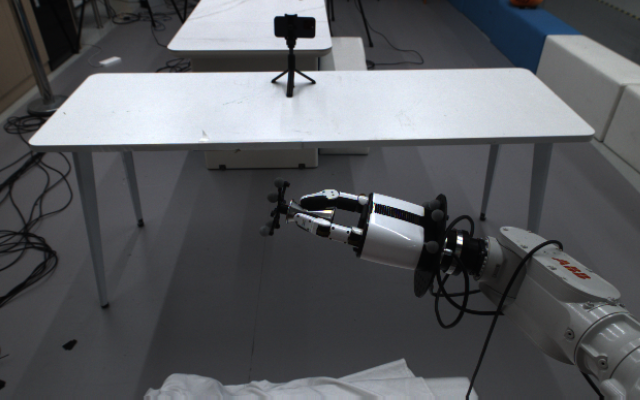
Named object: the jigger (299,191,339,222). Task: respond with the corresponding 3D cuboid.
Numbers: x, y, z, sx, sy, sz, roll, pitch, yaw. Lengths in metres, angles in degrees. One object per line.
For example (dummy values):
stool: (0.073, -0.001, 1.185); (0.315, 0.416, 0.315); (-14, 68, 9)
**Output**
jigger: (-0.008, 0.023, 0.739); (0.071, 0.043, 0.043); (14, 36, 4)
